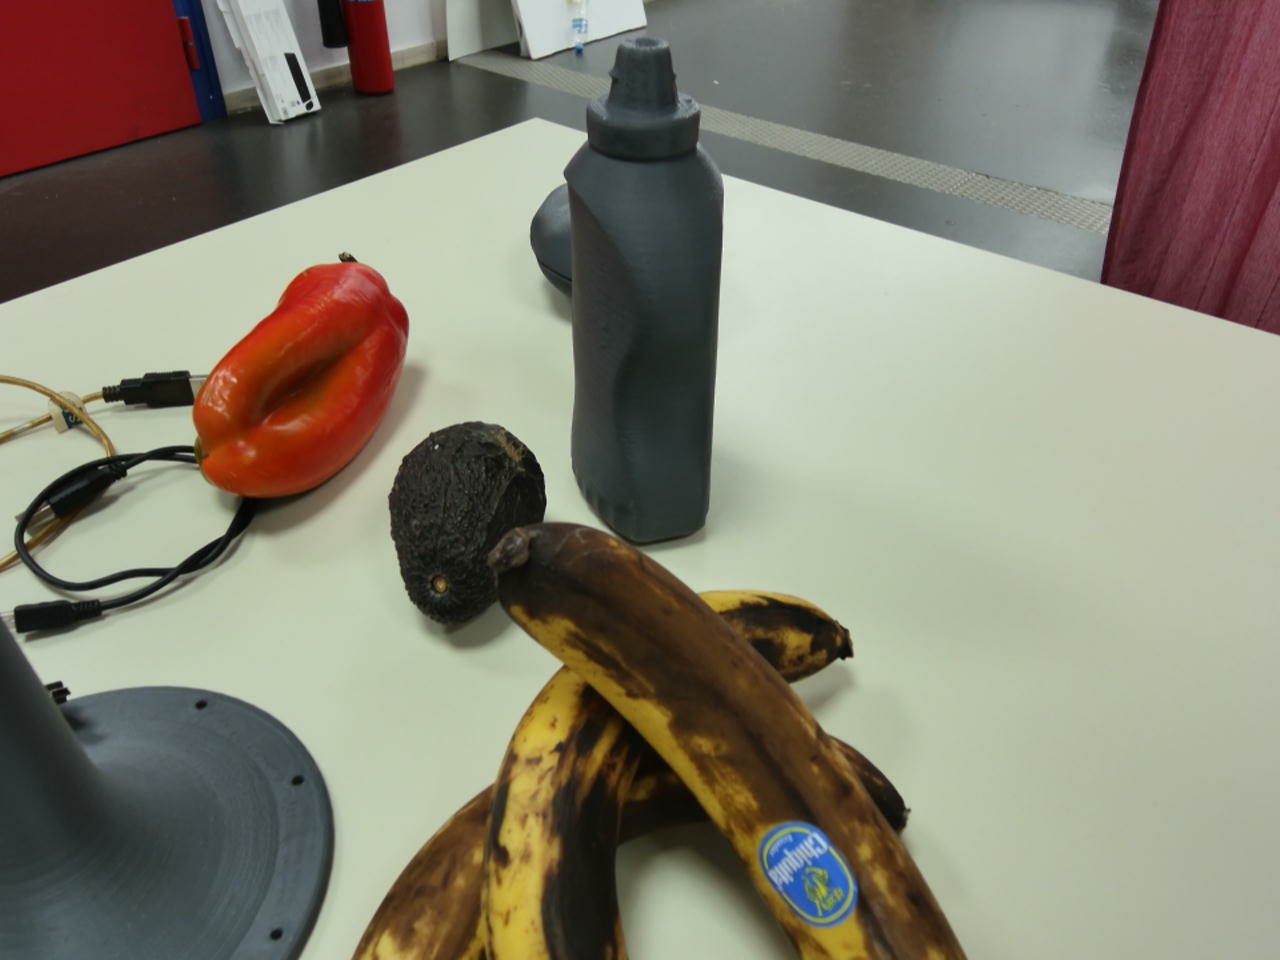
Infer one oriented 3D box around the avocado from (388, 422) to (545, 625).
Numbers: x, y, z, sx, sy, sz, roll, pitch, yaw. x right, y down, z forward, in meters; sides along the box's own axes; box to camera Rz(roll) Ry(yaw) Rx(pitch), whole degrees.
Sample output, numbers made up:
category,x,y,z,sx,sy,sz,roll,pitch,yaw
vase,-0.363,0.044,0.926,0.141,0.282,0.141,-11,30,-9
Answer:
category,x,y,z,sx,sy,sz,roll,pitch,yaw
avocado,-0.072,0.014,0.403,0.062,0.062,0.092,9,37,11
